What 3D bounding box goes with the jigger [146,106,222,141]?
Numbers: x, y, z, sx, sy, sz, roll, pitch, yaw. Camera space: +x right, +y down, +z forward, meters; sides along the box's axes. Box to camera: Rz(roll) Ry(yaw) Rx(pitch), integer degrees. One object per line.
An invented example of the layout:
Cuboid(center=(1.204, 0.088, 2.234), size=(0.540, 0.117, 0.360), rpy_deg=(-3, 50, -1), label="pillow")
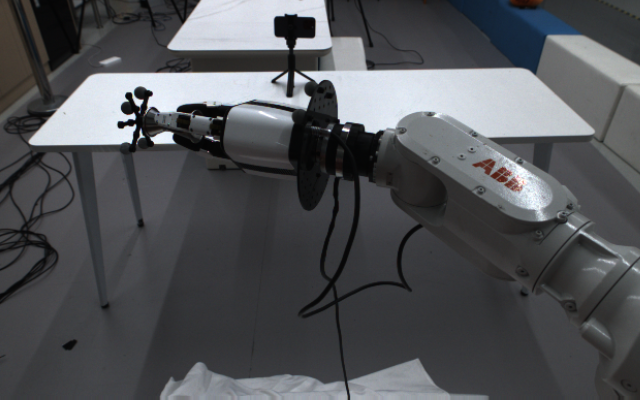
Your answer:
Cuboid(center=(-0.187, -0.102, 0.639), size=(0.071, 0.043, 0.043), rpy_deg=(8, 35, 13), label="jigger")
